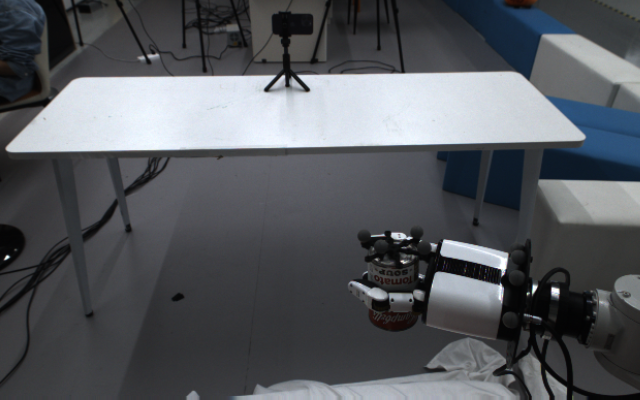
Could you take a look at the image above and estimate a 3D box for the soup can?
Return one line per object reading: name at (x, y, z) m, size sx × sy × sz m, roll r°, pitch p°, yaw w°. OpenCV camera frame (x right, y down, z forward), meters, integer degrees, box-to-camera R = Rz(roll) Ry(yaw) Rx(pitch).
soup can at (0.098, 0.111, 0.639) m, size 0.067 × 0.101 × 0.067 m, roll -3°, pitch 25°, yaw 2°
